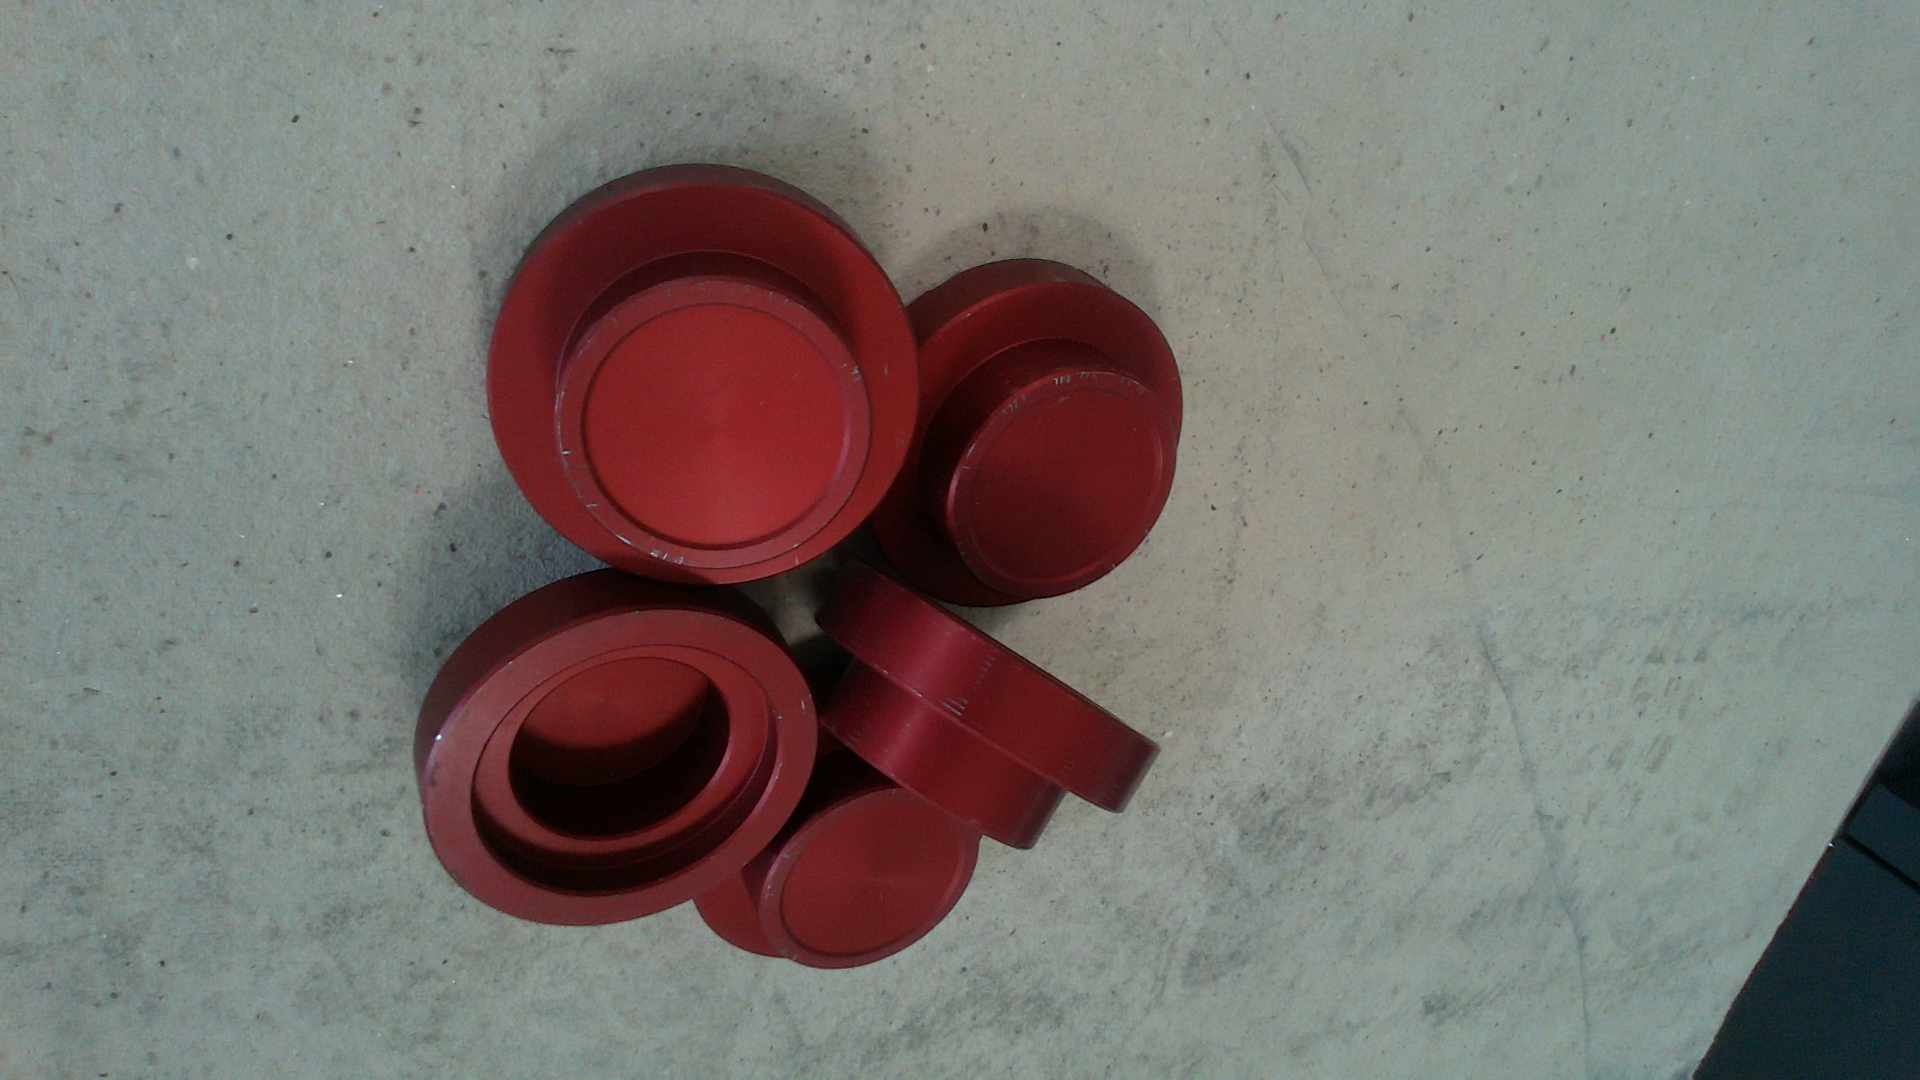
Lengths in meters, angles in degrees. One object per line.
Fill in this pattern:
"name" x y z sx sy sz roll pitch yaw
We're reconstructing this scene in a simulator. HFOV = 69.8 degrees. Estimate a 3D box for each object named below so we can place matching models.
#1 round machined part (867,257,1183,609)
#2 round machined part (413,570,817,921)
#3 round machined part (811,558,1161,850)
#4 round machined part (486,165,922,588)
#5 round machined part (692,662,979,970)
"round machined part" 0.020 -0.023 0.374 0.098 0.042 0.098 -14 123 -22
"round machined part" -0.090 0.048 0.359 0.098 0.042 0.098 -14 126 -20
"round machined part" 0.001 0.047 0.369 0.098 0.098 0.042 33 86 -38
"round machined part" -0.057 -0.032 0.314 0.098 0.042 0.098 -6 117 -11
"round machined part" -0.034 0.089 0.415 0.098 0.042 0.098 -14 123 -22
